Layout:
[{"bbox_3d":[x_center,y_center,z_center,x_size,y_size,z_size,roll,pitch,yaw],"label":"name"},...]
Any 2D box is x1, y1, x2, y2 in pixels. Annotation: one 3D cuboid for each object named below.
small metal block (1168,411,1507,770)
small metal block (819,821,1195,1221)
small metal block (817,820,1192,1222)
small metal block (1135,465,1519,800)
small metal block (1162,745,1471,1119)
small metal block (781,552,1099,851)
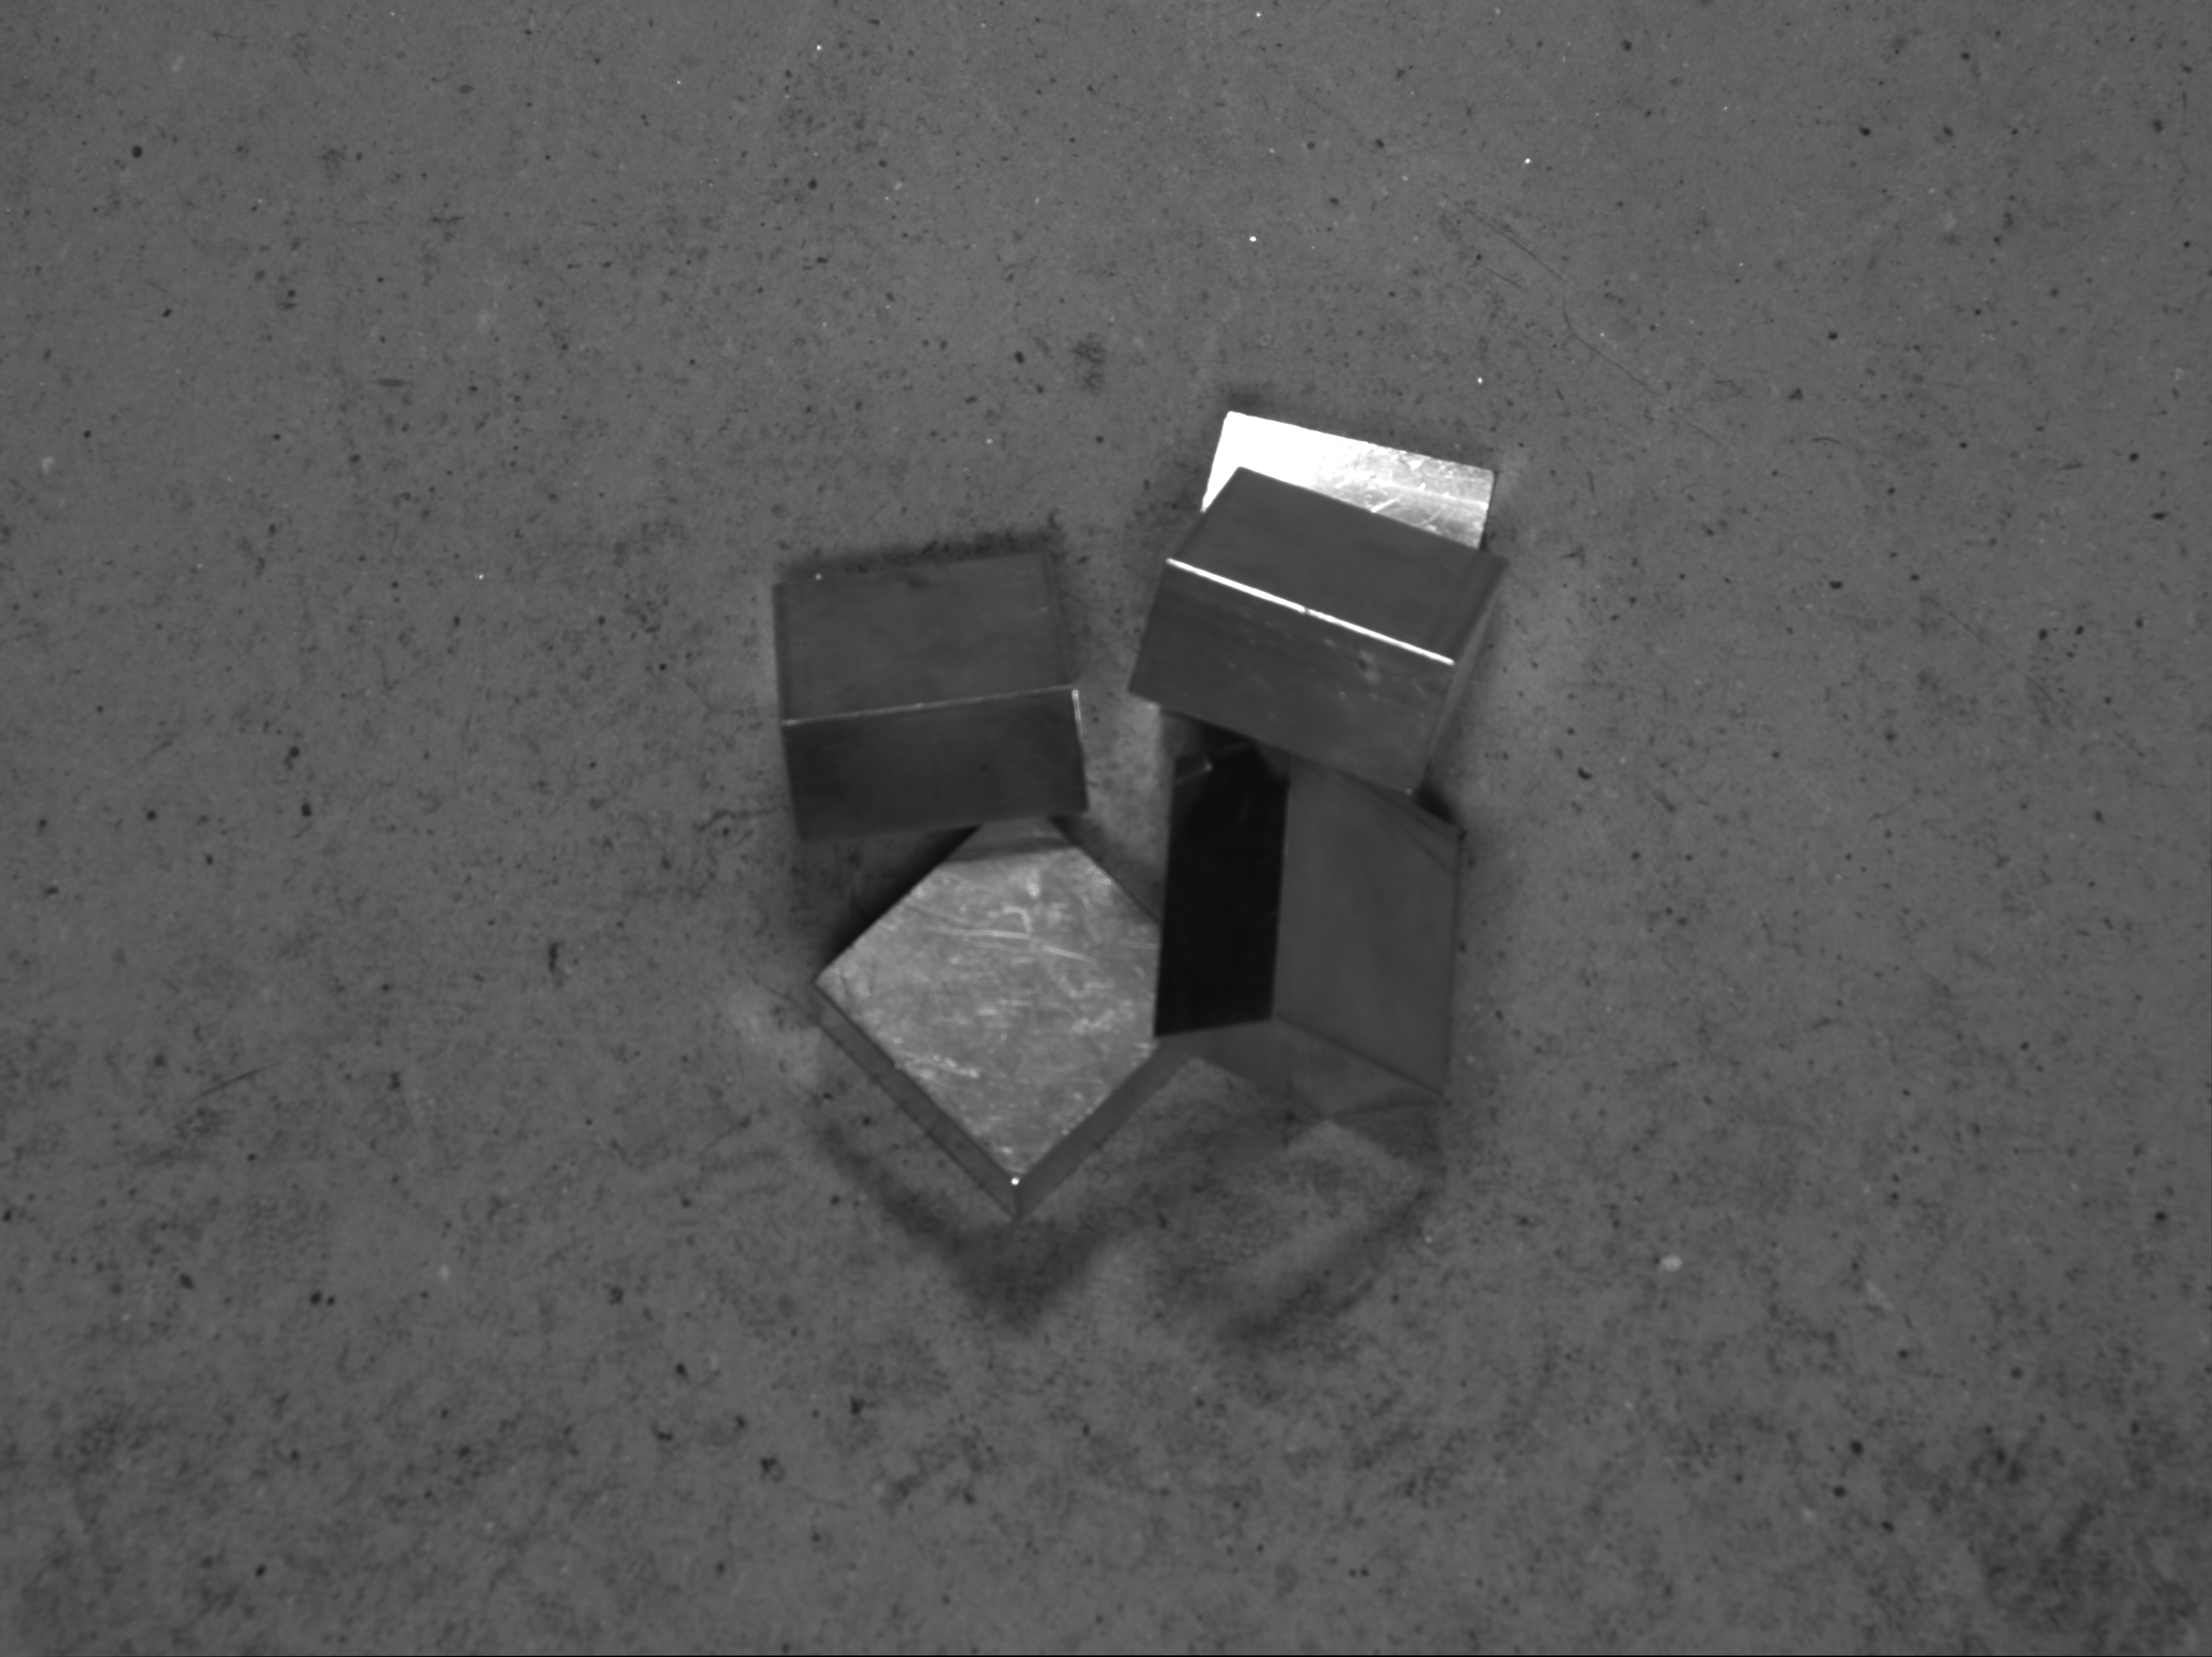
[{"bbox_3d":[0.042,-0.042,0.661,0.050,0.025,0.050,13,70,5],"label":"small metal block"},{"bbox_3d":[-0.013,0.031,0.634,0.050,0.025,0.050,-43,75,-14],"label":"small metal block"},{"bbox_3d":[-0.014,0.031,0.634,0.050,0.025,0.050,-43,75,-14],"label":"small metal block"},{"bbox_3d":[0.038,-0.034,0.616,0.050,0.025,0.050,20,28,7],"label":"small metal block"},{"bbox_3d":[0.037,0.017,0.623,0.025,0.050,0.050,-11,64,37],"label":"small metal block"},{"bbox_3d":[-0.030,-0.023,0.640,0.050,0.025,0.050,-7,32,-3],"label":"small metal block"}]
